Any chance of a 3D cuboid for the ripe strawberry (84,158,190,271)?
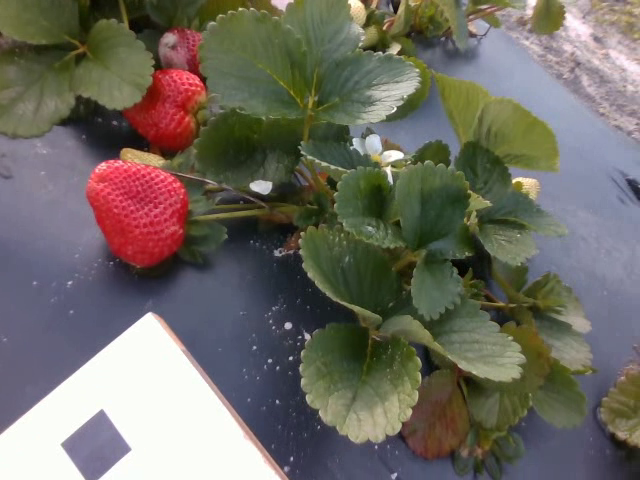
[{"bbox_3d":[-0.042,-0.008,0.135,0.022,0.025,0.030,25,-8,35],"label":"ripe strawberry"}]
